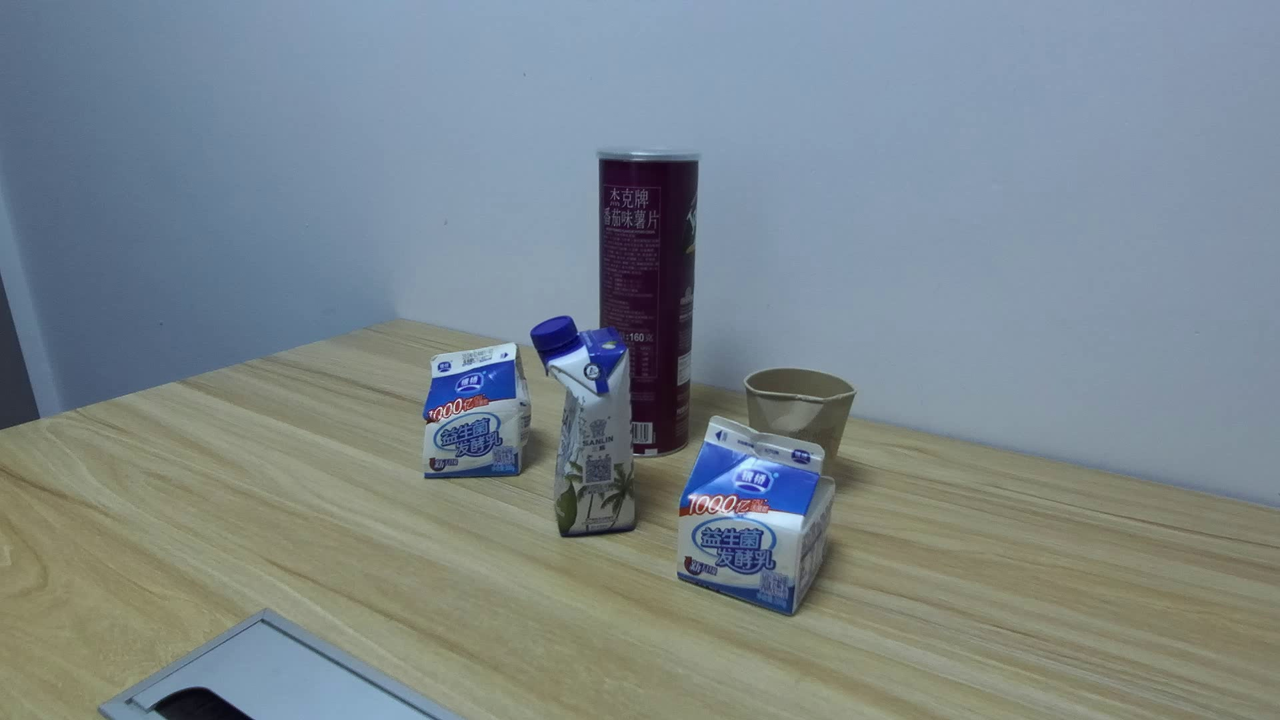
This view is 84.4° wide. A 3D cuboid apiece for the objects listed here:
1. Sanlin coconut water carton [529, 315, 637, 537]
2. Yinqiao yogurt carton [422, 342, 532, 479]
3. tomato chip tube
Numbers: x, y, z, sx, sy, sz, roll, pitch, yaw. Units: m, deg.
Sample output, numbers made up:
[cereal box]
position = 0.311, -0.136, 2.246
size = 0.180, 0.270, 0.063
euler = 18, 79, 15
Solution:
[Sanlin coconut water carton]
position = -0.034, 0.041, 0.464
size = 0.058, 0.142, 0.078
euler = -8, 20, -9
[Yinqiao yogurt carton]
position = -0.126, 0.032, 0.553
size = 0.083, 0.093, 0.077
euler = -1, 22, -6
[tomato chip tube]
position = 0.005, -0.043, 0.564
size = 0.078, 0.234, 0.078
euler = 1, 17, 0
